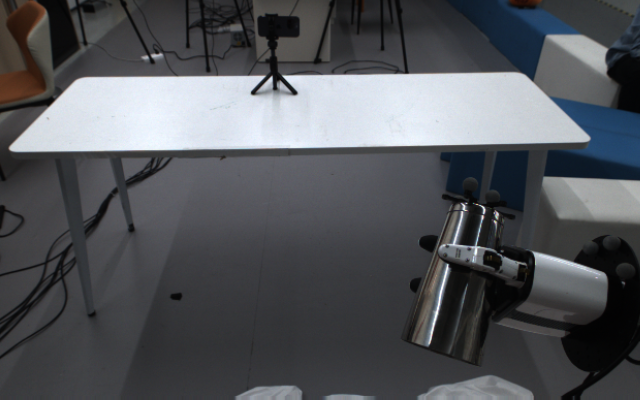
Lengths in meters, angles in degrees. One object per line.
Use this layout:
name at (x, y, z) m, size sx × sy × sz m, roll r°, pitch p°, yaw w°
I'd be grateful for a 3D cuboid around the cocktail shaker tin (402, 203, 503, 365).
cocktail shaker tin at (0.163, 0.093, 0.562) m, size 0.093 × 0.093 × 0.170 m, roll 15°, pitch 75°, yaw 18°
